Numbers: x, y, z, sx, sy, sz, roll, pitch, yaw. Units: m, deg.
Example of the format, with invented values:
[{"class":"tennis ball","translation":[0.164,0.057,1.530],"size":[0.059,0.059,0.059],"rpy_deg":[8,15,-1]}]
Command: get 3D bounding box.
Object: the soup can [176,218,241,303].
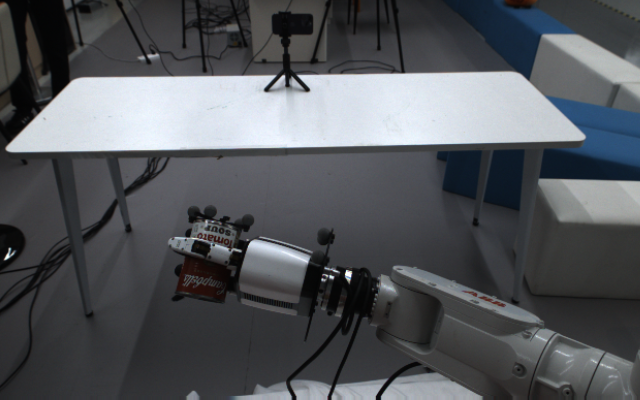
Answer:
[{"class":"soup can","translation":[-0.151,0.085,0.657],"size":[0.067,0.067,0.101],"rpy_deg":[8,72,9]}]
